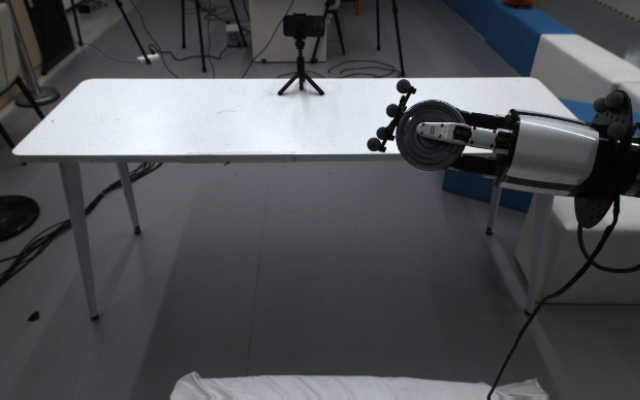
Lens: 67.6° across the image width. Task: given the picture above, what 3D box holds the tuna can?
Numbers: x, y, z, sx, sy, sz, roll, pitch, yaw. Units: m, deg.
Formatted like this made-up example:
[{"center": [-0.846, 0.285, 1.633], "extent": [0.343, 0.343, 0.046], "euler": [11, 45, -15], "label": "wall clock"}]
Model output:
[{"center": [0.139, -0.082, 0.599], "extent": [0.085, 0.085, 0.034], "euler": [8, 4, 8], "label": "tuna can"}]
